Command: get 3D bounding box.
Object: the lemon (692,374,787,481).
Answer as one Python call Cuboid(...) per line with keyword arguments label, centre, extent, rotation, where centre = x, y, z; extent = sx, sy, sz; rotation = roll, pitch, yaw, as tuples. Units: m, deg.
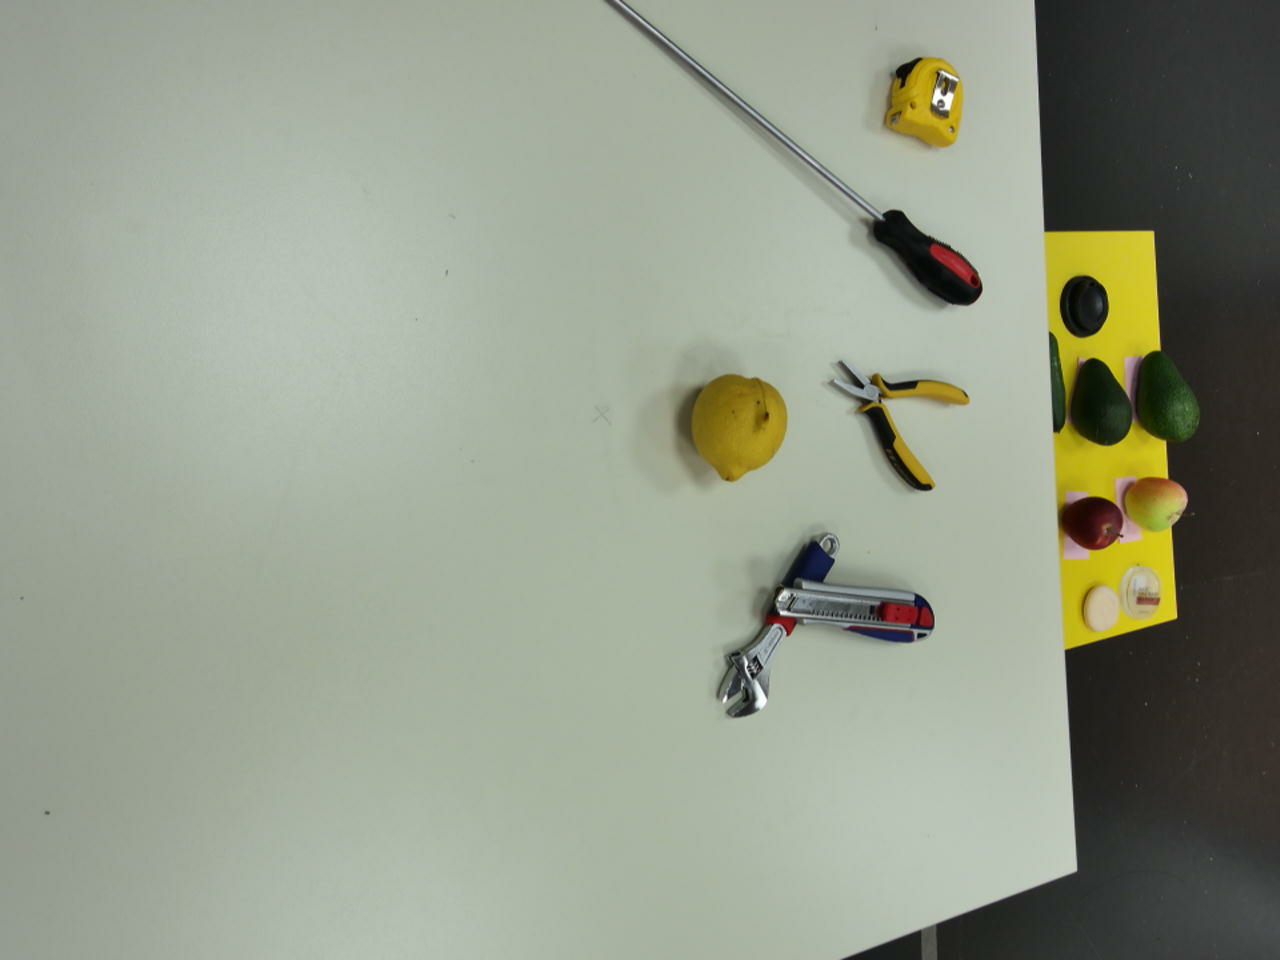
Cuboid(label="lemon", centre=(0.072, -0.041, 0.716), extent=(0.071, 0.071, 0.070), rotation=(-41, 109, -21))
